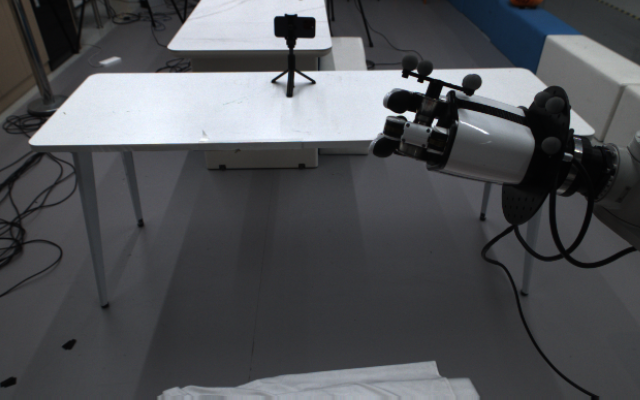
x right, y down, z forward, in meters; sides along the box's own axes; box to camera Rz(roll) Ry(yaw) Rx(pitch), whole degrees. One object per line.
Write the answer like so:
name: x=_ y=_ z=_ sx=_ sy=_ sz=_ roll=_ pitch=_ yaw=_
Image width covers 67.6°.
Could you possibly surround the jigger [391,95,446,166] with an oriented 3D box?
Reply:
jigger: x=0.117 y=-0.083 z=0.553 sx=0.043 sy=0.071 sz=0.043 roll=15 pitch=16 yaw=-5
